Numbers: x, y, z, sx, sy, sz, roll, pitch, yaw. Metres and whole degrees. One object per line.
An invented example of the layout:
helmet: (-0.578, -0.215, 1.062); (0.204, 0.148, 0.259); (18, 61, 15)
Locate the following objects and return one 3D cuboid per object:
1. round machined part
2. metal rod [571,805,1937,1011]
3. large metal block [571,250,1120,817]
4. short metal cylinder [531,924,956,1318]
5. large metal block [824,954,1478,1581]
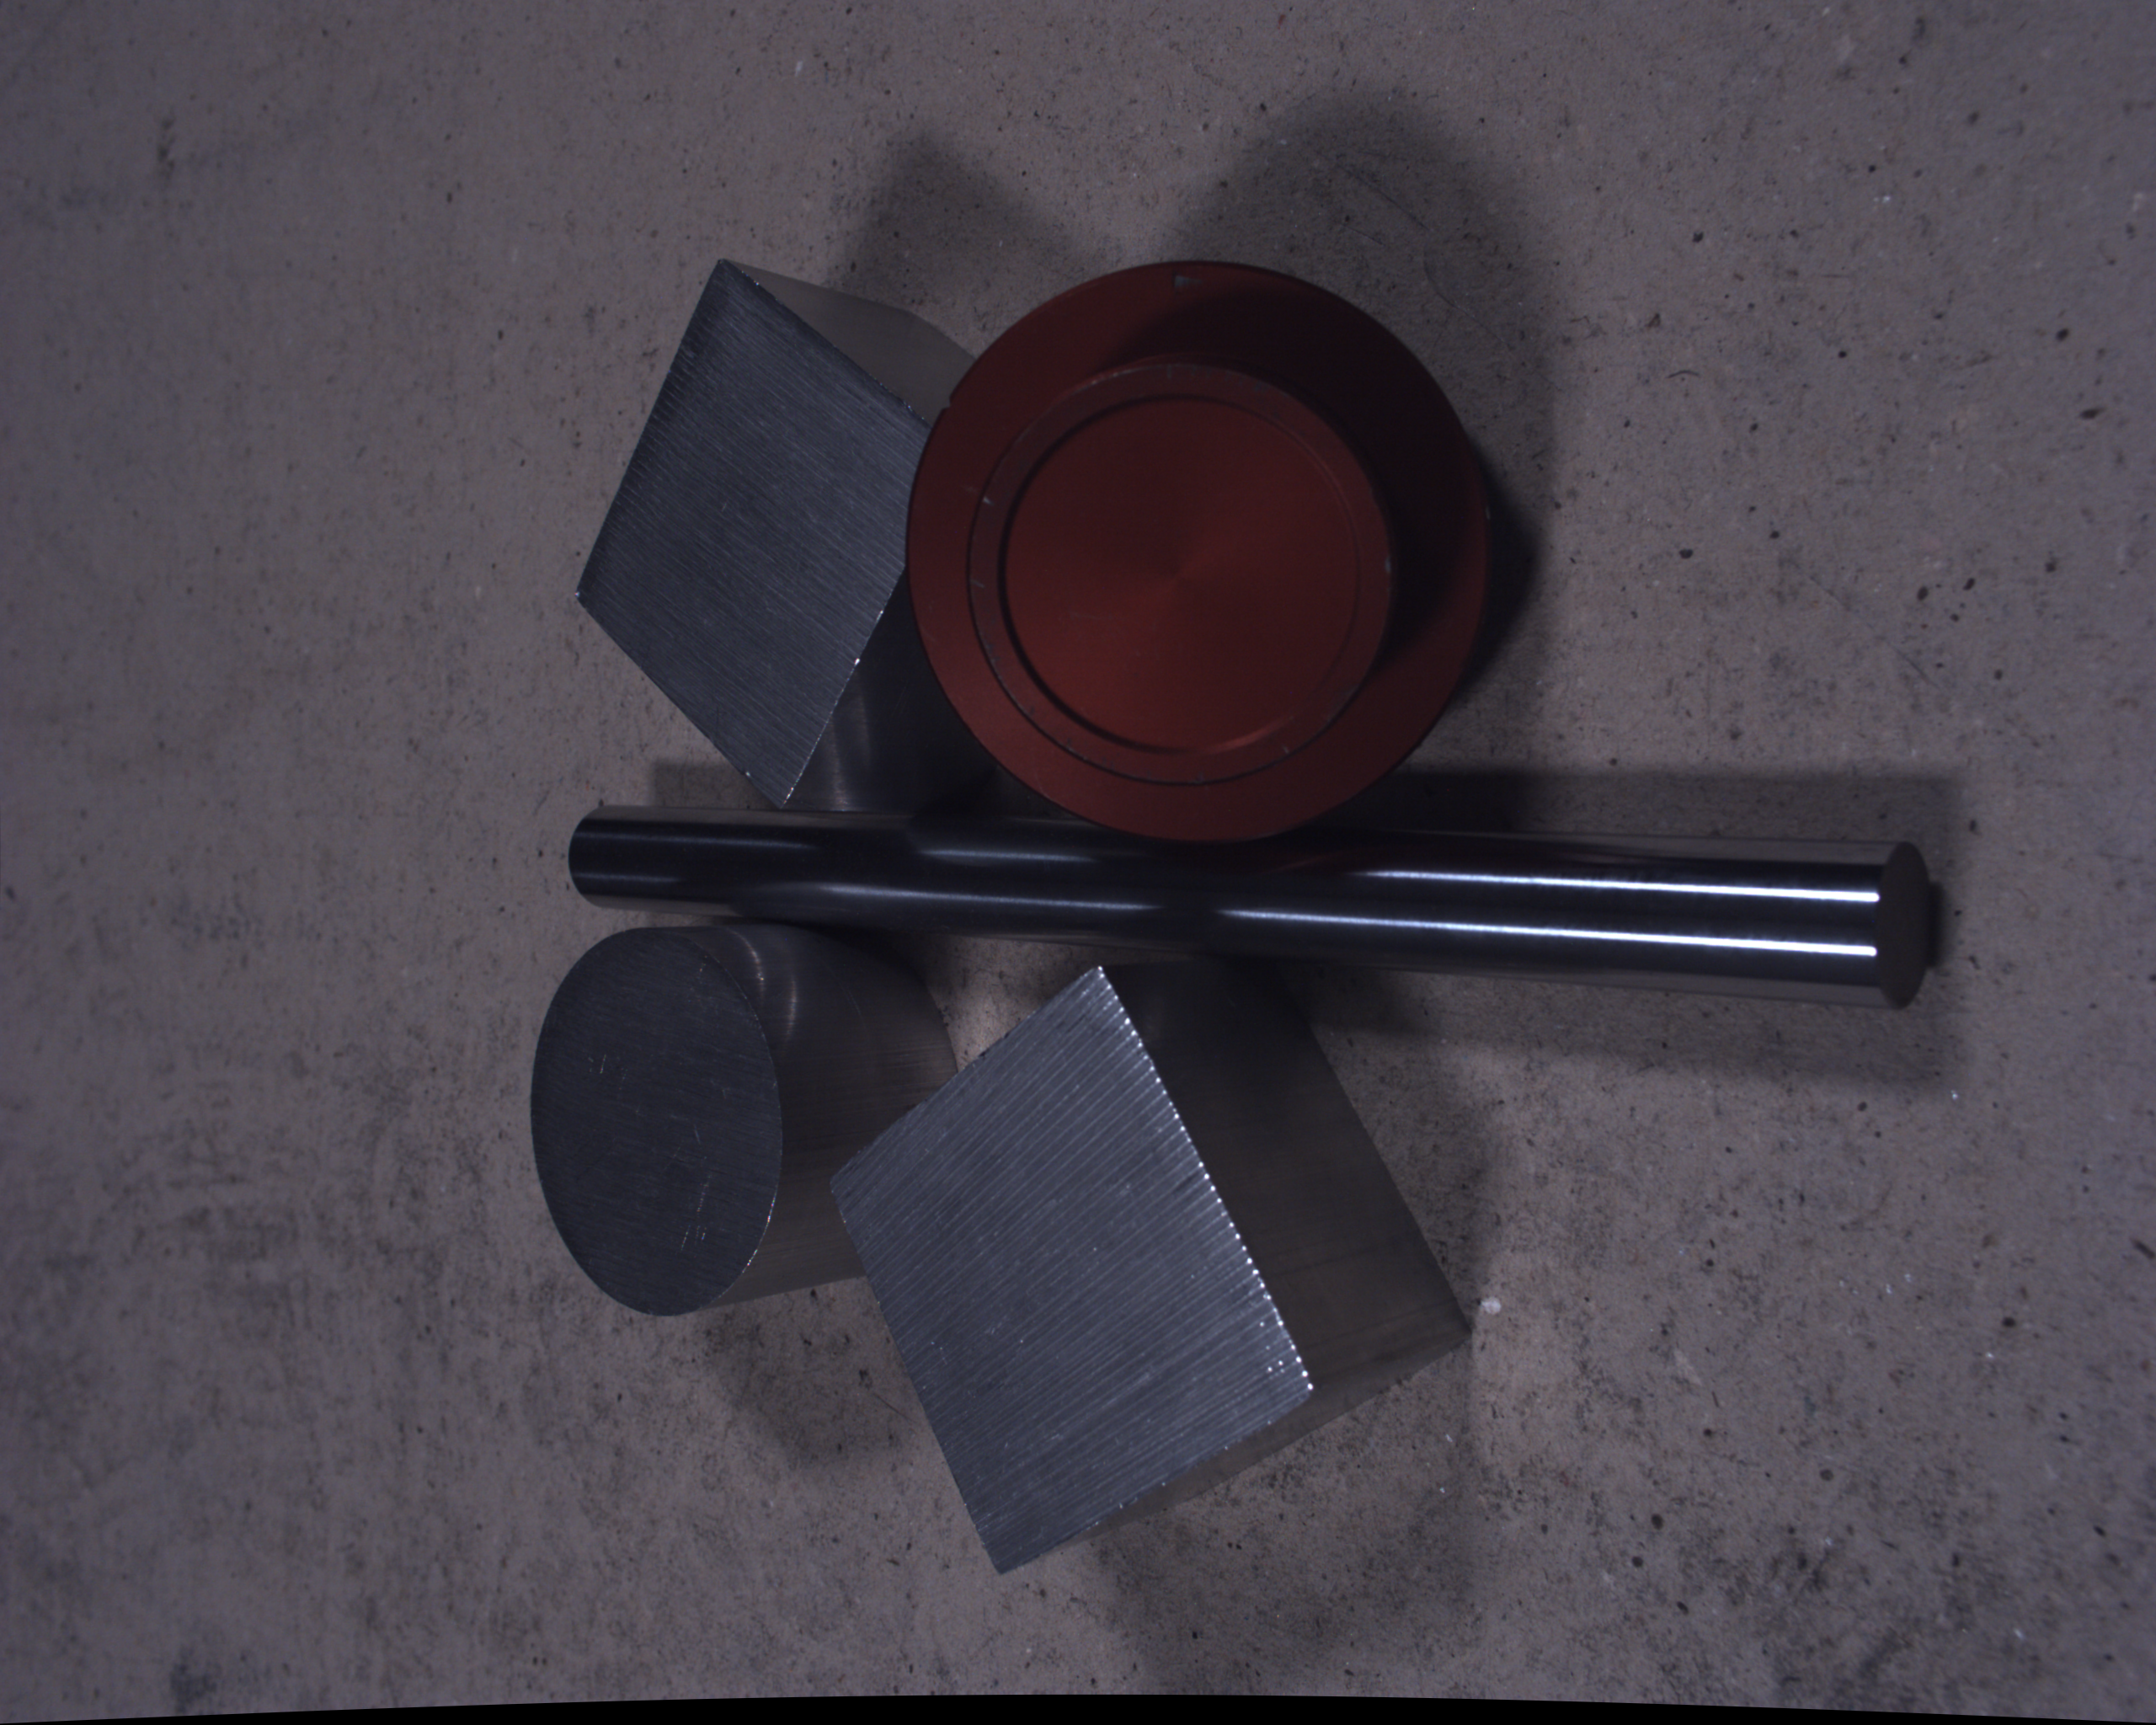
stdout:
round machined part: (0.018, -0.050, 0.348); (0.098, 0.042, 0.097); (3, 105, 11)
metal rod: (0.006, 0.004, 0.401); (0.300, 0.025, 0.025); (3, 92, 39)
large metal block: (-0.048, -0.065, 0.424); (0.080, 0.050, 0.080); (44, 116, 31)
short metal cylinder: (-0.072, 0.053, 0.447); (0.080, 0.050, 0.079); (0, 90, 39)
large metal block: (0.011, 0.071, 0.379); (0.080, 0.050, 0.080); (-40, 66, 32)
